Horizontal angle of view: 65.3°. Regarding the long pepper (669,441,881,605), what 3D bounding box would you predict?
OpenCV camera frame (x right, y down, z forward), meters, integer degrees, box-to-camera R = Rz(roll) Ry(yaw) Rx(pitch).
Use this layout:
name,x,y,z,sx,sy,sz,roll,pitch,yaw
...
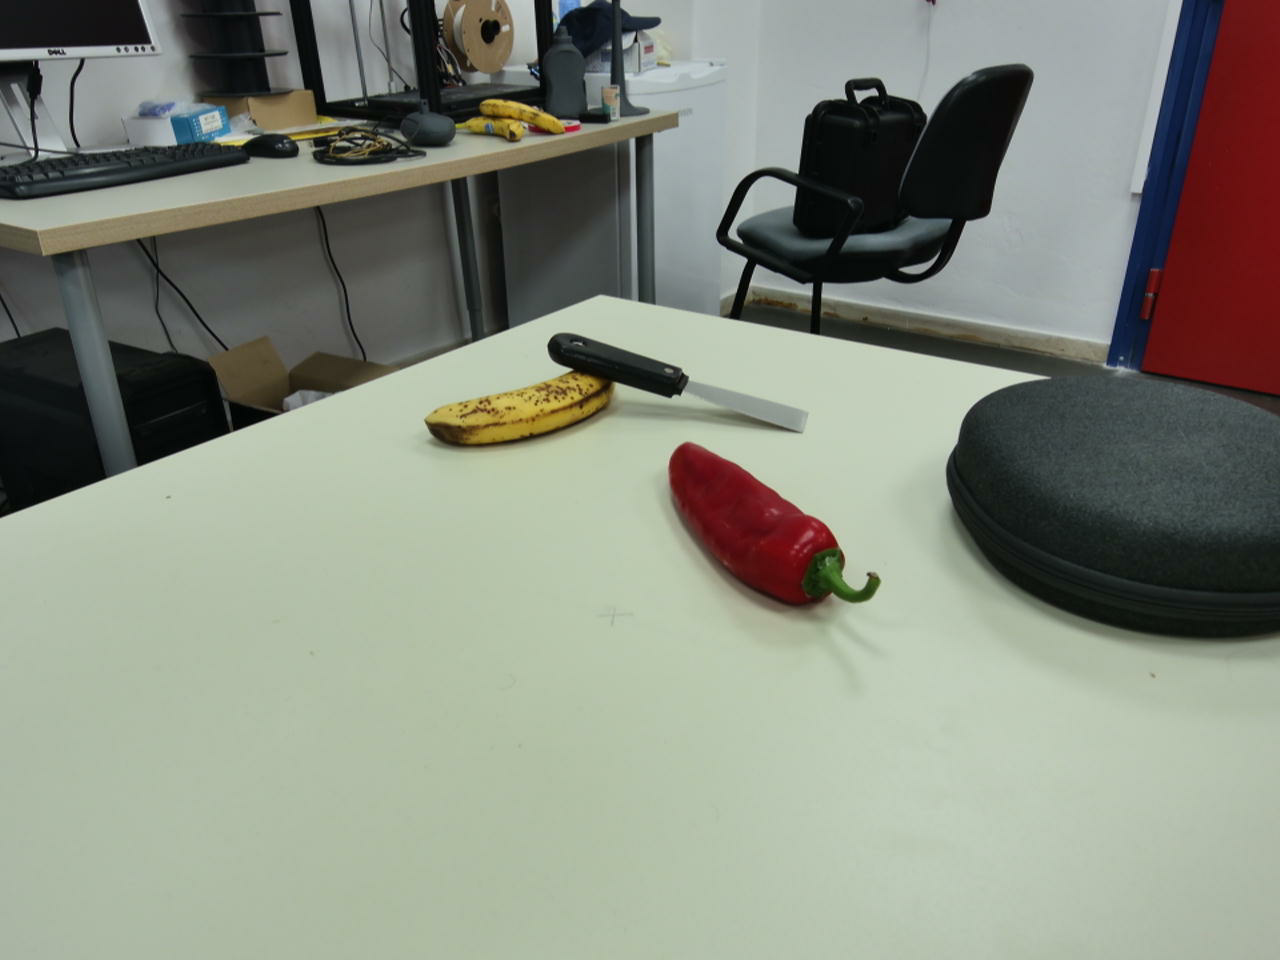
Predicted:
name,x,y,z,sx,sy,sz,roll,pitch,yaw
long pepper,0.058,0.019,0.537,0.050,0.043,0.211,-9,26,-19
